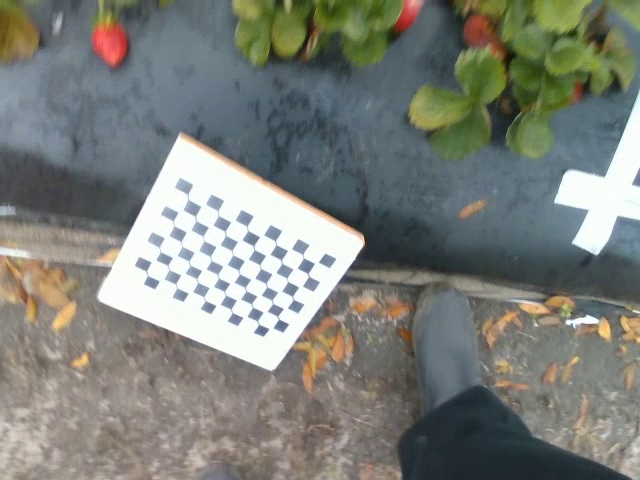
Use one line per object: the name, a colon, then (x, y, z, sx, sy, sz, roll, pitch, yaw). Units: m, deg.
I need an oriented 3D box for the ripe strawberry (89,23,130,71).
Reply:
ripe strawberry: (-0.269, -0.233, 0.638, 0.045, 0.054, 0.048, -18, -18, 8)
